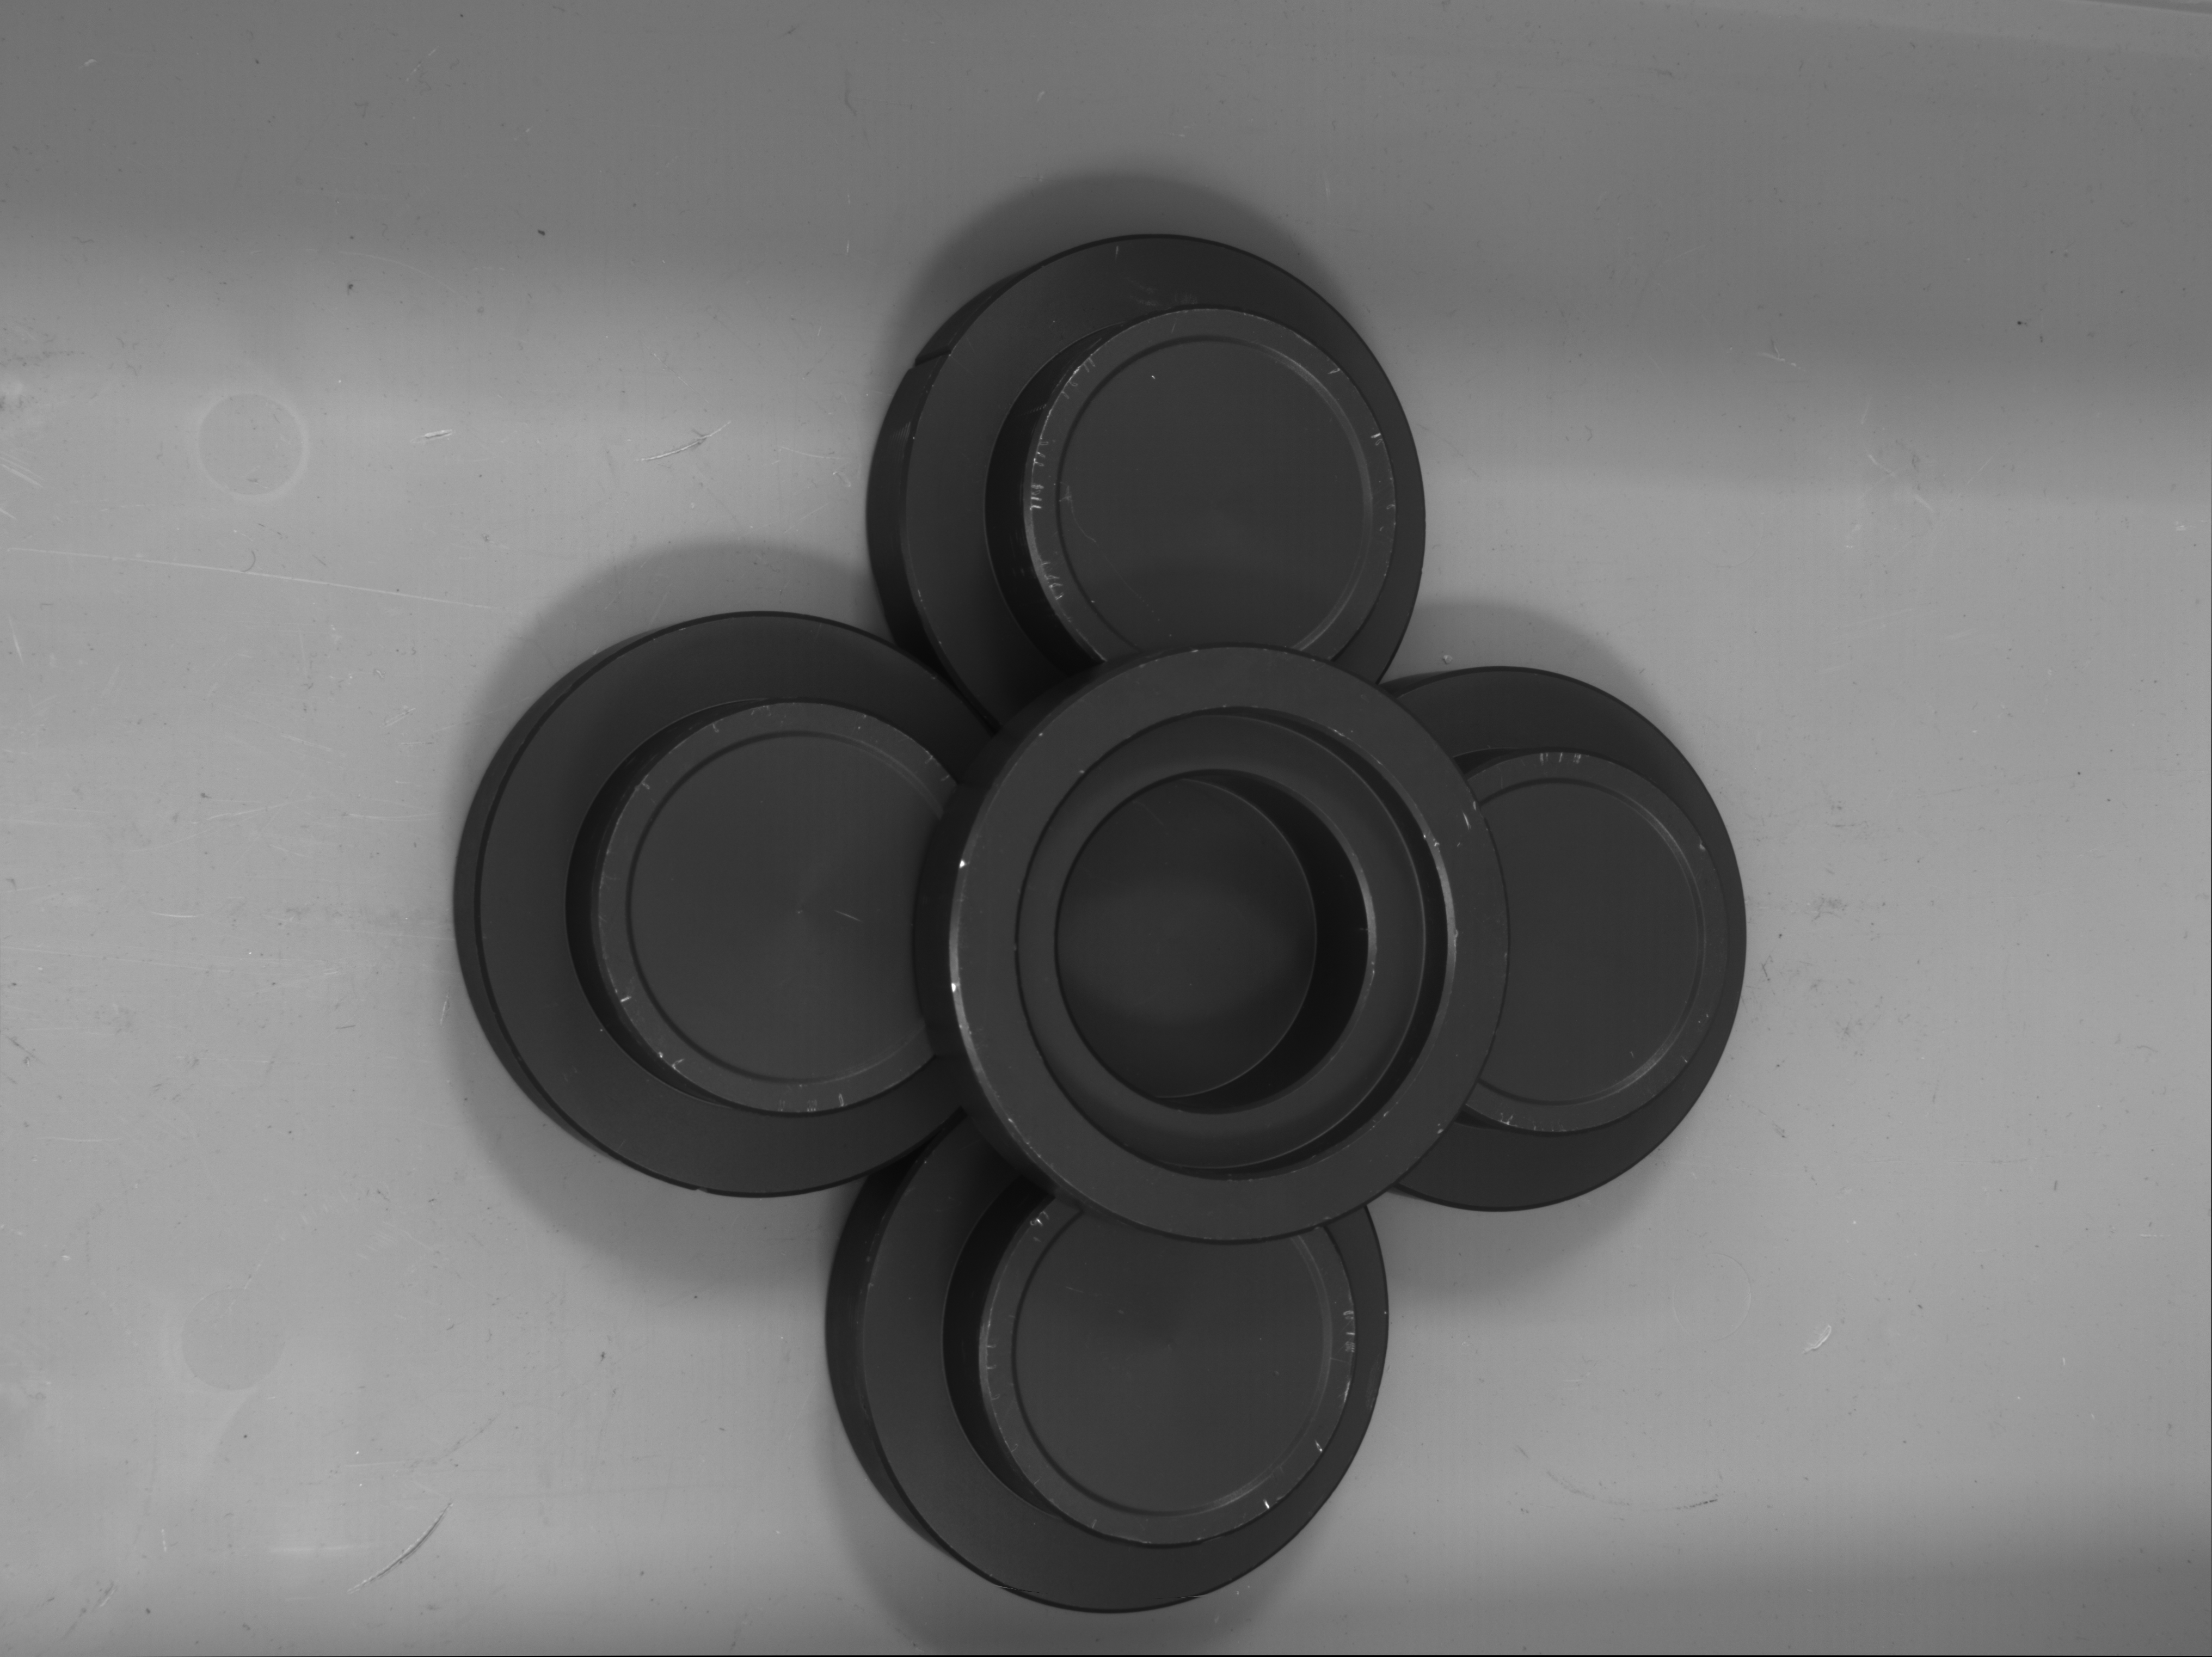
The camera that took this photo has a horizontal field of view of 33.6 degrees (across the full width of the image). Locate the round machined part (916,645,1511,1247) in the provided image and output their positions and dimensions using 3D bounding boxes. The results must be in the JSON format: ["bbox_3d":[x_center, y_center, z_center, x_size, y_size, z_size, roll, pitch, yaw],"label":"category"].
[{"bbox_3d":[0.015,0.019,0.615,0.098,0.042,0.098,0,90,-20],"label":"round machined part"}]

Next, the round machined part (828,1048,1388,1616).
[{"bbox_3d":[0.005,0.087,0.634,0.098,0.042,0.098,1,88,-21],"label":"round machined part"}]

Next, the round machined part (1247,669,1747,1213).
[{"bbox_3d":[0.072,0.020,0.658,0.098,0.042,0.098,0,90,-20],"label":"round machined part"}]

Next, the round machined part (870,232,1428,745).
[{"bbox_3d":[0.012,-0.054,0.635,0.098,0.042,0.098,0,90,-20],"label":"round machined part"}]

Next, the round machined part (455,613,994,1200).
[{"bbox_3d":[-0.056,0.013,0.611,0.098,0.042,0.098,0,90,-20],"label":"round machined part"}]
